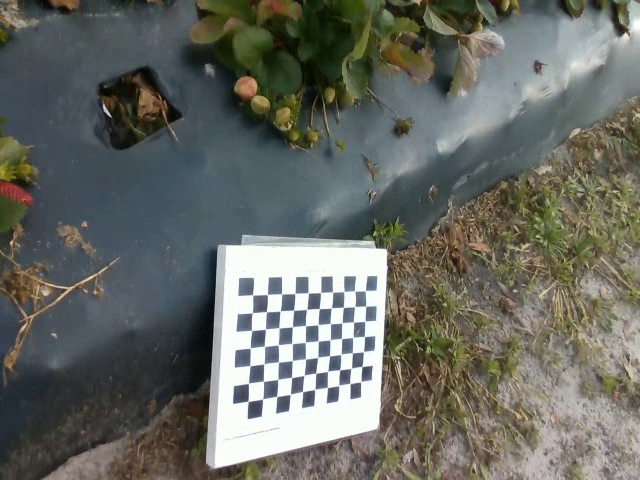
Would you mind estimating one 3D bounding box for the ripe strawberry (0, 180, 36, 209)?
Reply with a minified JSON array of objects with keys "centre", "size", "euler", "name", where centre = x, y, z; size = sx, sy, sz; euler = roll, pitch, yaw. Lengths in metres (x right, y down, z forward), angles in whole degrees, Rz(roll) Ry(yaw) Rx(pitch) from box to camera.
[{"centre":[-0.330,-0.043,0.677],"size":[0.046,0.043,0.046],"euler":[-1,-2,-10],"name":"ripe strawberry"}]
